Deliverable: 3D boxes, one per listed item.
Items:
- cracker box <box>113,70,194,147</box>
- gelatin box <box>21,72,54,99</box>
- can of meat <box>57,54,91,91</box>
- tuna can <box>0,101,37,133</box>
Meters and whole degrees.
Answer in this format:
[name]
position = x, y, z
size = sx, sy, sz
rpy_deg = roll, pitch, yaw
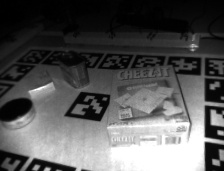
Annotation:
[cracker box]
position = 0.087, 0.042, 0.534
size = 0.164, 0.072, 0.212
rpy_deg = -5, 35, 2
[gelatin box]
position = -0.234, -0.004, 0.678
size = 0.074, 0.030, 0.088
rpy_deg = -23, 42, -25
[can of meat]
position = -0.117, -0.040, 0.673
size = 0.058, 0.084, 0.100
rpy_deg = -34, 43, -31
[tuna can]
position = -0.241, 0.080, 0.558
size = 0.085, 0.034, 0.085
rpy_deg = -6, 39, 6
